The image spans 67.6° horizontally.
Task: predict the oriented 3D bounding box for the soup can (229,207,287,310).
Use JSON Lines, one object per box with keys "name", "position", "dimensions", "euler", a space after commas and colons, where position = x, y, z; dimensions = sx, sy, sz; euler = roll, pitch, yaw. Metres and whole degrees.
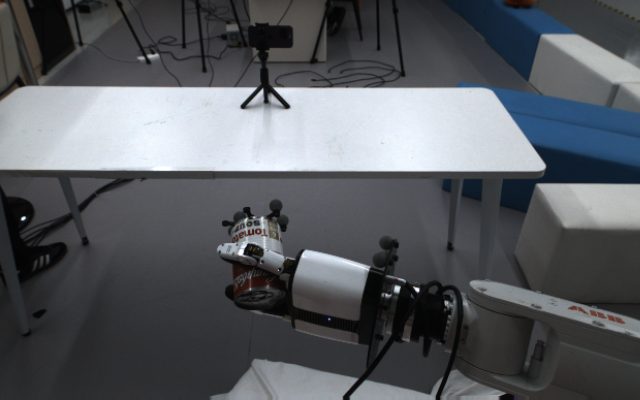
{"name": "soup can", "position": [-0.077, 0.081, 0.617], "dimensions": [0.067, 0.067, 0.101], "euler": [-5, 57, -9]}
